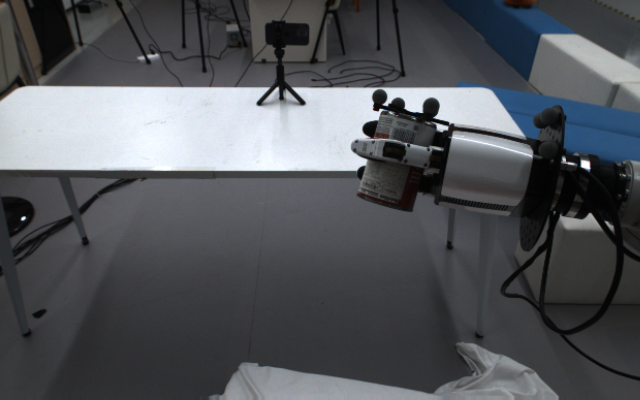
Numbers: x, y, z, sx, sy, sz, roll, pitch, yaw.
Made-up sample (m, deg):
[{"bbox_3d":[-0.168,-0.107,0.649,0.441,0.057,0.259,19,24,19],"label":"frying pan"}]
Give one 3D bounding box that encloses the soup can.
[{"bbox_3d":[0.090,-0.045,0.559,0.067,0.101,0.067,15,7,-2],"label":"soup can"}]
